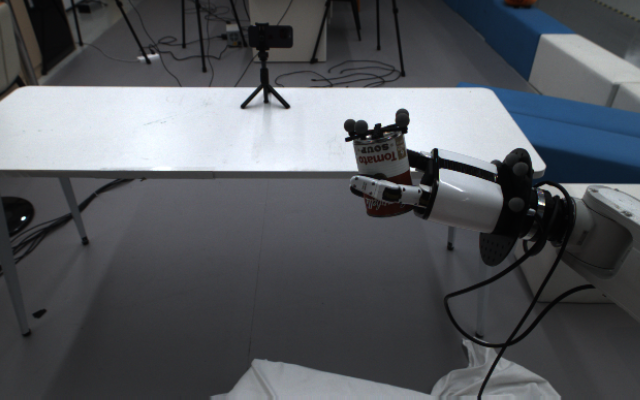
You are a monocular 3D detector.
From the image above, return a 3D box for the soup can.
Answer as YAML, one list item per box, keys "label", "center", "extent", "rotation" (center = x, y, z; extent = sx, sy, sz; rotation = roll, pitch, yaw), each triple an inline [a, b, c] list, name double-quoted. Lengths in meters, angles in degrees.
- label: "soup can"
  center: [0.085, -0.037, 0.635]
  extent: [0.067, 0.101, 0.067]
  rotation: [-12, 17, 4]
